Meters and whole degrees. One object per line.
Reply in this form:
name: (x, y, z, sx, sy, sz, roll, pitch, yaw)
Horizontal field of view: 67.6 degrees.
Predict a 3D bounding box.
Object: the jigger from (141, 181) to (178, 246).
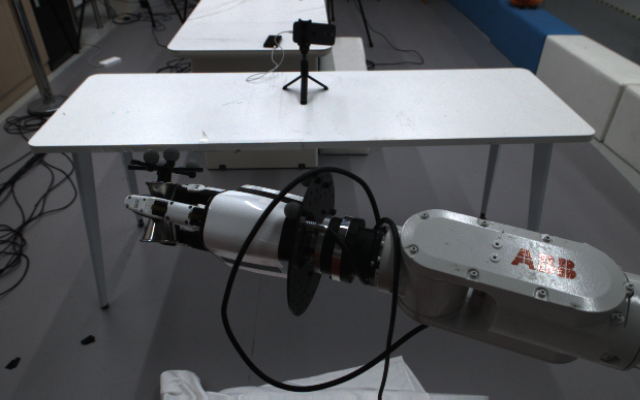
jigger: (-0.181, 0.015, 0.559, 0.043, 0.071, 0.043, 2, -6, 0)
